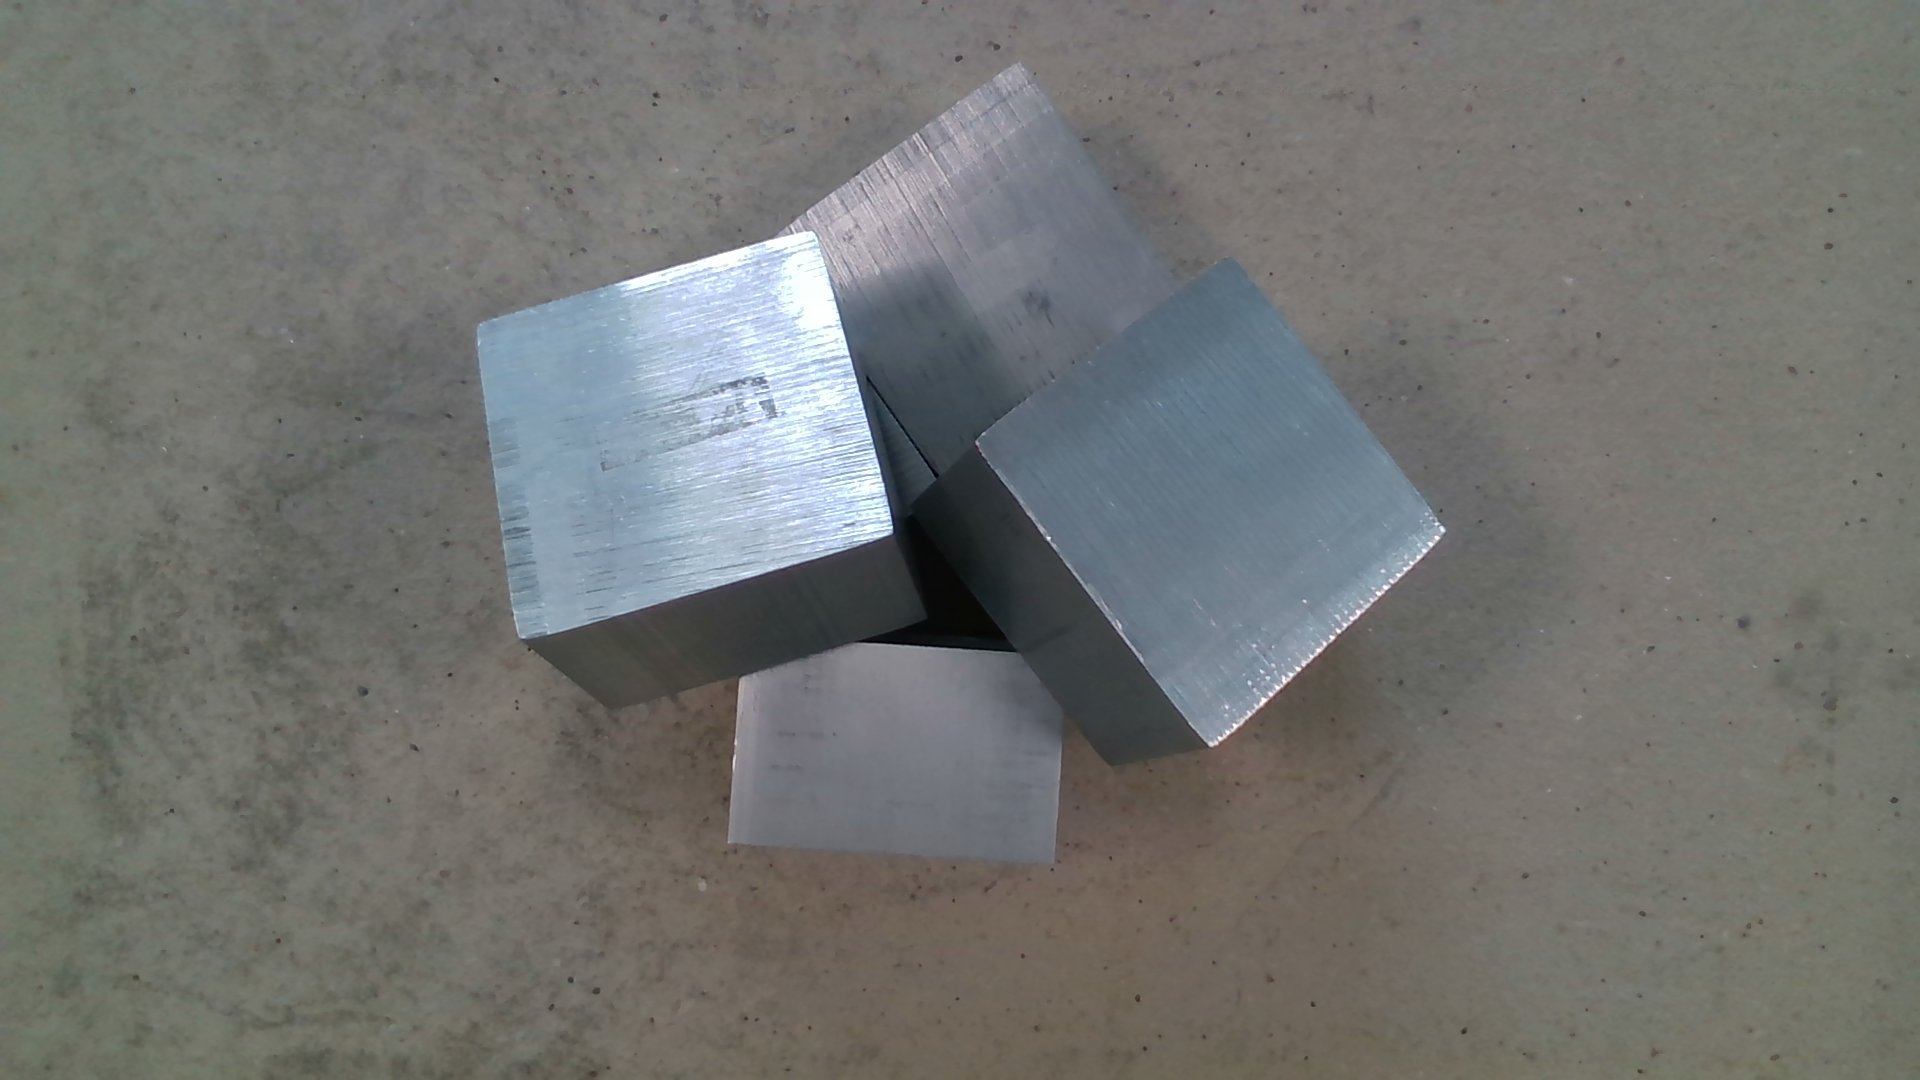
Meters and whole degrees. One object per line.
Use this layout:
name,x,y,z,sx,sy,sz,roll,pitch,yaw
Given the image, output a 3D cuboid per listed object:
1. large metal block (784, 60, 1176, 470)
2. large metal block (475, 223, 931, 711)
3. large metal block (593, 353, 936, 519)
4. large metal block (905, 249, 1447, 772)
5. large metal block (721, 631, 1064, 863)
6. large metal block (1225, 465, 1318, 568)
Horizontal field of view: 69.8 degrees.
large metal block,0.006,-0.069,0.384,0.080,0.050,0.080,-36,90,0
large metal block,-0.059,-0.016,0.318,0.080,0.050,0.080,-16,65,1
large metal block,-0.059,-0.022,0.384,0.080,0.050,0.080,-36,90,0
large metal block,0.048,-0.005,0.317,0.080,0.050,0.080,-38,91,-23
large metal block,-0.015,0.050,0.369,0.080,0.080,0.050,3,90,0
large metal block,0.054,-0.005,0.382,0.080,0.050,0.080,-36,91,0
